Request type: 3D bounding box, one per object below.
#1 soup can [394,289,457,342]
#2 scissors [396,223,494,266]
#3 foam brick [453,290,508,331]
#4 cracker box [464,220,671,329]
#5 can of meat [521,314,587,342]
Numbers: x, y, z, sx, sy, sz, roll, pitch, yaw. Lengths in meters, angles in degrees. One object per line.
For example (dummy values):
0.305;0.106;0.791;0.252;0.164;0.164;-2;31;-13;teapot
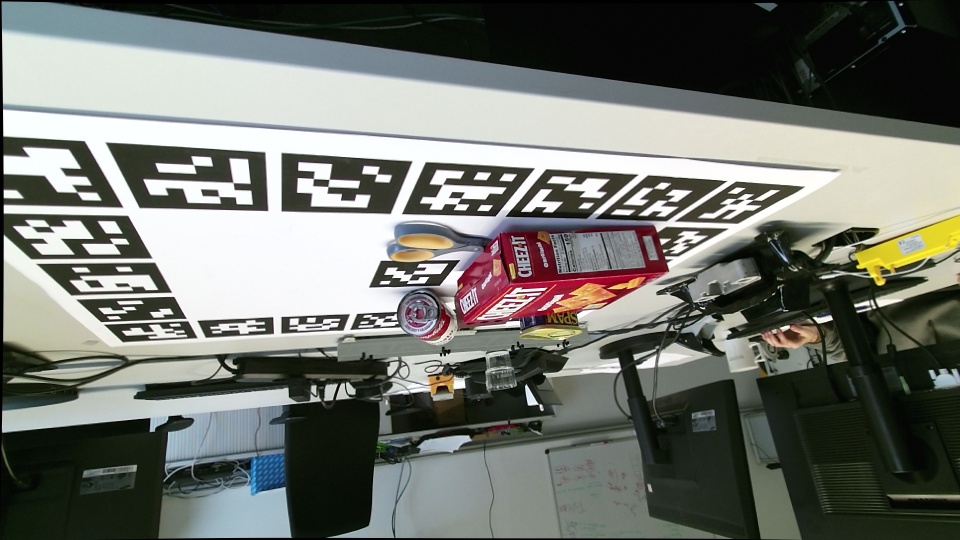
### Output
-0.082;0.072;0.814;0.068;0.067;0.102;-16;162;13;soup can
0.002;-0.031;0.619;0.204;0.016;0.088;-3;156;-17;scissors
0.003;0.059;0.820;0.078;0.051;0.053;-5;157;-11;foam brick
0.104;0.011;0.679;0.214;0.071;0.164;-6;159;-18;cracker box
0.106;0.062;0.820;0.102;0.083;0.058;6;152;-33;can of meat
